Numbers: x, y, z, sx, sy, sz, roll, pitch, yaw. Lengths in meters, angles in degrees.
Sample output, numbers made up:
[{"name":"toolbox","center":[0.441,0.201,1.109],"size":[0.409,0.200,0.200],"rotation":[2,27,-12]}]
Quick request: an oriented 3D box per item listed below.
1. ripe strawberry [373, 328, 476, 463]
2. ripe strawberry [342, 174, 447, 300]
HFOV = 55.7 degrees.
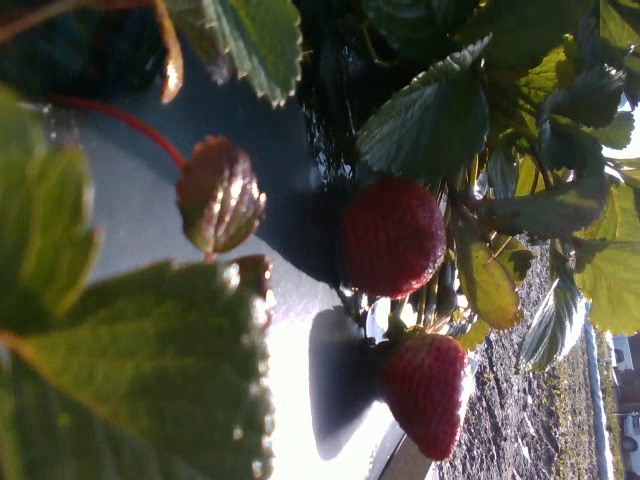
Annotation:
[{"name":"ripe strawberry","center":[0.048,0.061,0.241],"size":[0.038,0.053,0.043],"rotation":[-7,-33,-4]},{"name":"ripe strawberry","center":[0.029,0.000,0.213],"size":[0.039,0.048,0.054],"rotation":[27,-2,-7]}]
